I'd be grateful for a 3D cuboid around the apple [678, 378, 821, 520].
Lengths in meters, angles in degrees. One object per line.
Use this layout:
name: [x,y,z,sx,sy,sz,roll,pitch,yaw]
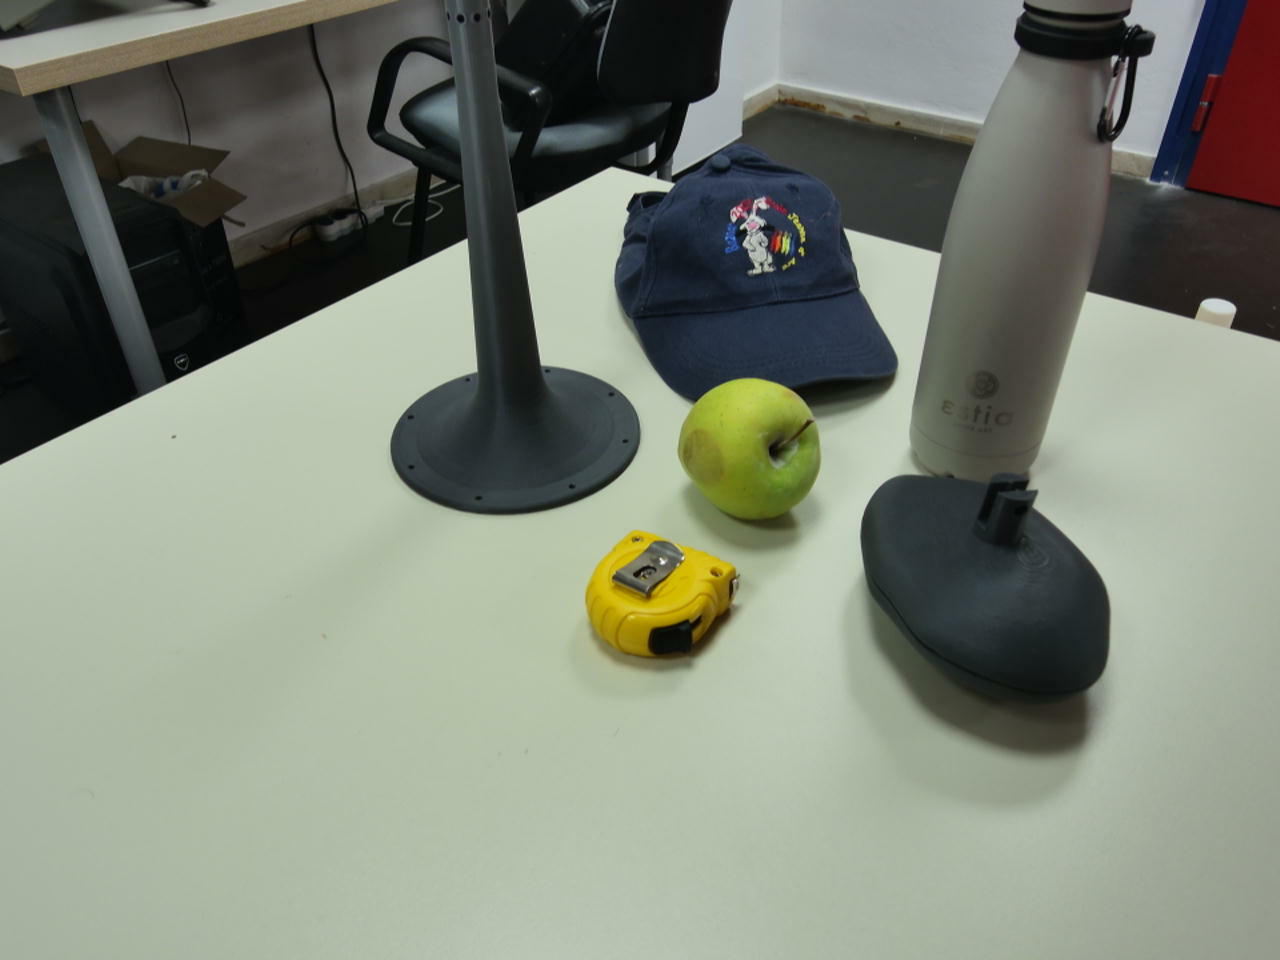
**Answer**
apple: [0.058,-0.018,0.529,0.072,0.075,0.077,-5,37,-6]
